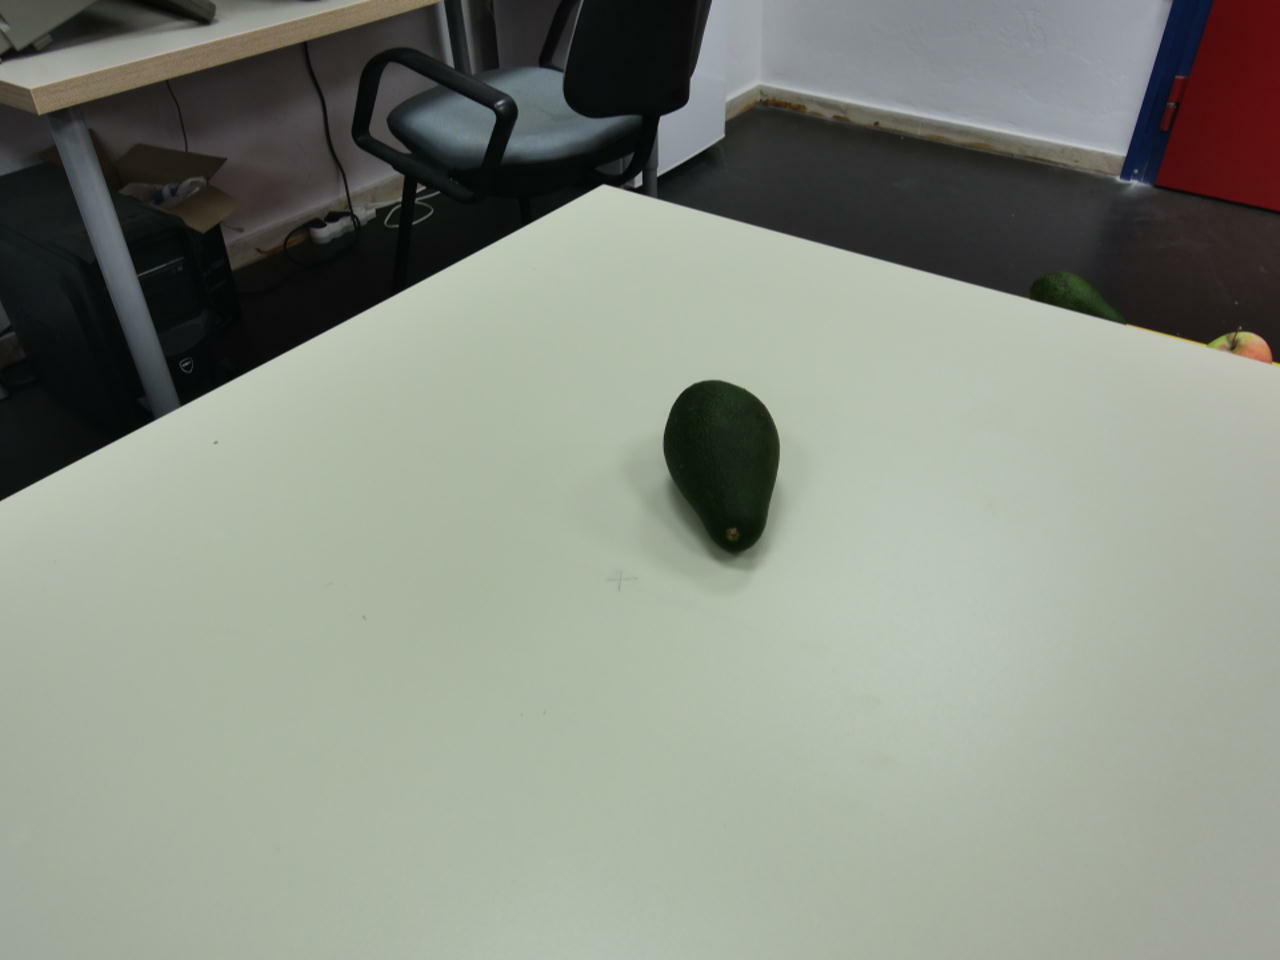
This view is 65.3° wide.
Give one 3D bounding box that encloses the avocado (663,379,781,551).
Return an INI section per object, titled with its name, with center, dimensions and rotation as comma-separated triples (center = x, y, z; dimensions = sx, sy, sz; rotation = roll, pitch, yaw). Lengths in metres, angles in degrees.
[avocado]
center = 0.046, -0.013, 0.596
dimensions = 0.073, 0.071, 0.109
rotation = 8, 38, 12
